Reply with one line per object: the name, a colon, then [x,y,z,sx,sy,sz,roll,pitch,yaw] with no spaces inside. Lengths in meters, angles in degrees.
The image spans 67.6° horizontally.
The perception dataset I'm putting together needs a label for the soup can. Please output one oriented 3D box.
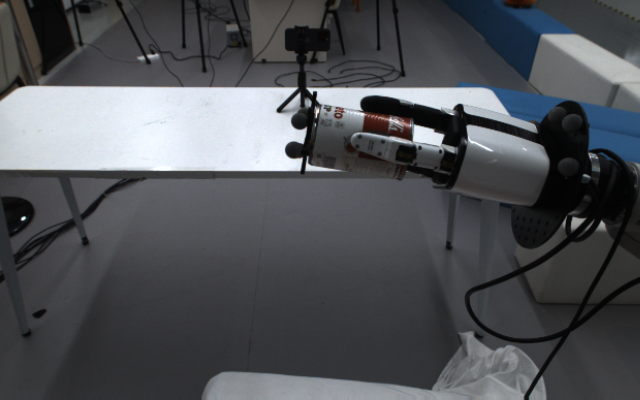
soup can: [0.045,-0.063,0.521,0.101,0.067,0.067,9,35,0]
